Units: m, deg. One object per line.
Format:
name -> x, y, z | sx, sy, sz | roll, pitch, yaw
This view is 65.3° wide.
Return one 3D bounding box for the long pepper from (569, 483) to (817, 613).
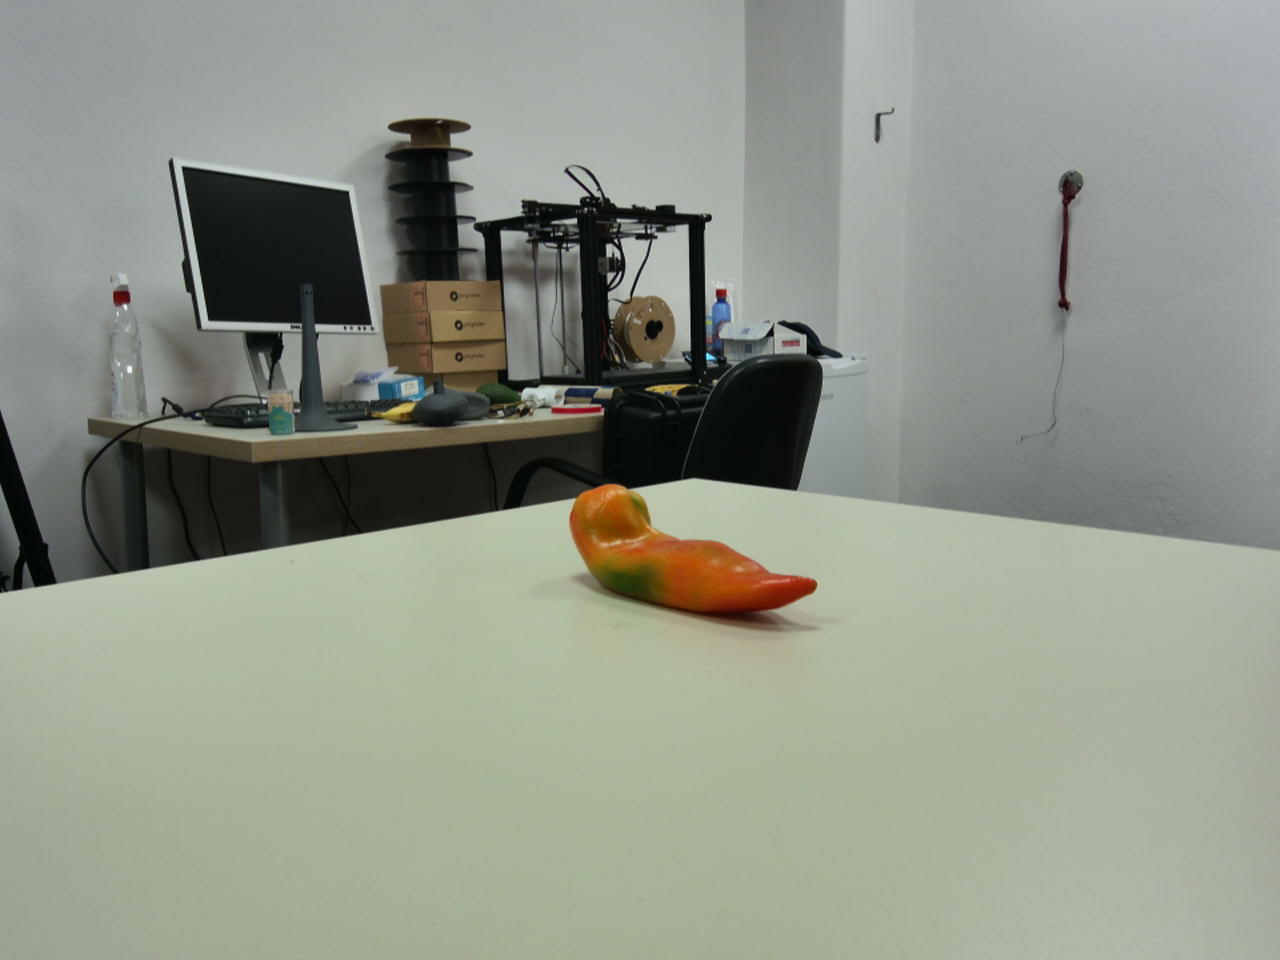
long pepper -> 0.025, 0.043, 0.622 | 0.066, 0.065, 0.199 | -4, 8, -38
